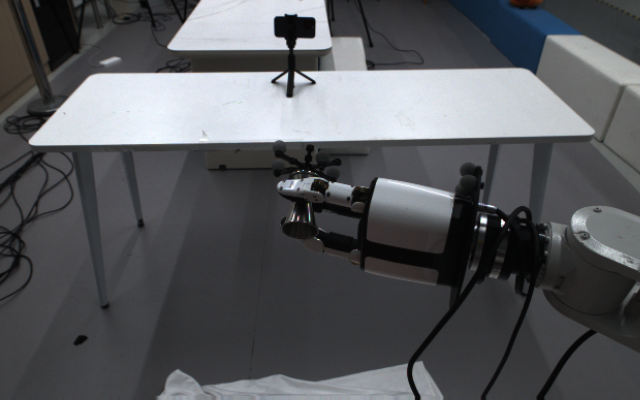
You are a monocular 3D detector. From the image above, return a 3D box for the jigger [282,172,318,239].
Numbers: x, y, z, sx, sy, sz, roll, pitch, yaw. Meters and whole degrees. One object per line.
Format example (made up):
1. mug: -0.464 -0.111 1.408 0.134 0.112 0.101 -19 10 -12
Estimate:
1. jigger: -0.021 0.003 0.556 0.043 0.043 0.071 4 61 3
